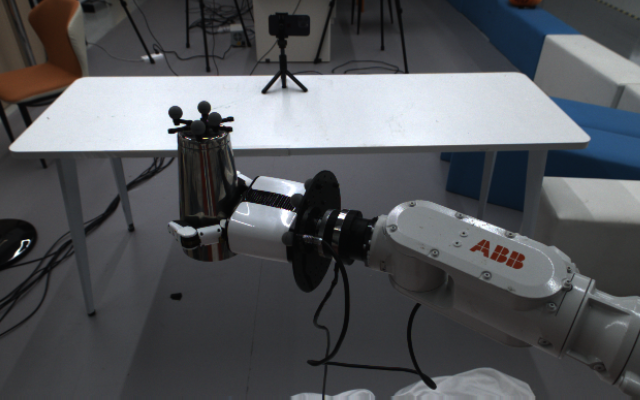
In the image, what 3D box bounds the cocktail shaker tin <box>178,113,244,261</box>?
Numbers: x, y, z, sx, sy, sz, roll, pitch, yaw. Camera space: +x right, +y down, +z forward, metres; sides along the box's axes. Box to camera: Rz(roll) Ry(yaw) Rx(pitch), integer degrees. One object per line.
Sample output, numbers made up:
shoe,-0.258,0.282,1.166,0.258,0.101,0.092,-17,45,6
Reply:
cocktail shaker tin,-0.149,-0.013,0.656,0.093,0.170,0.093,0,28,0
